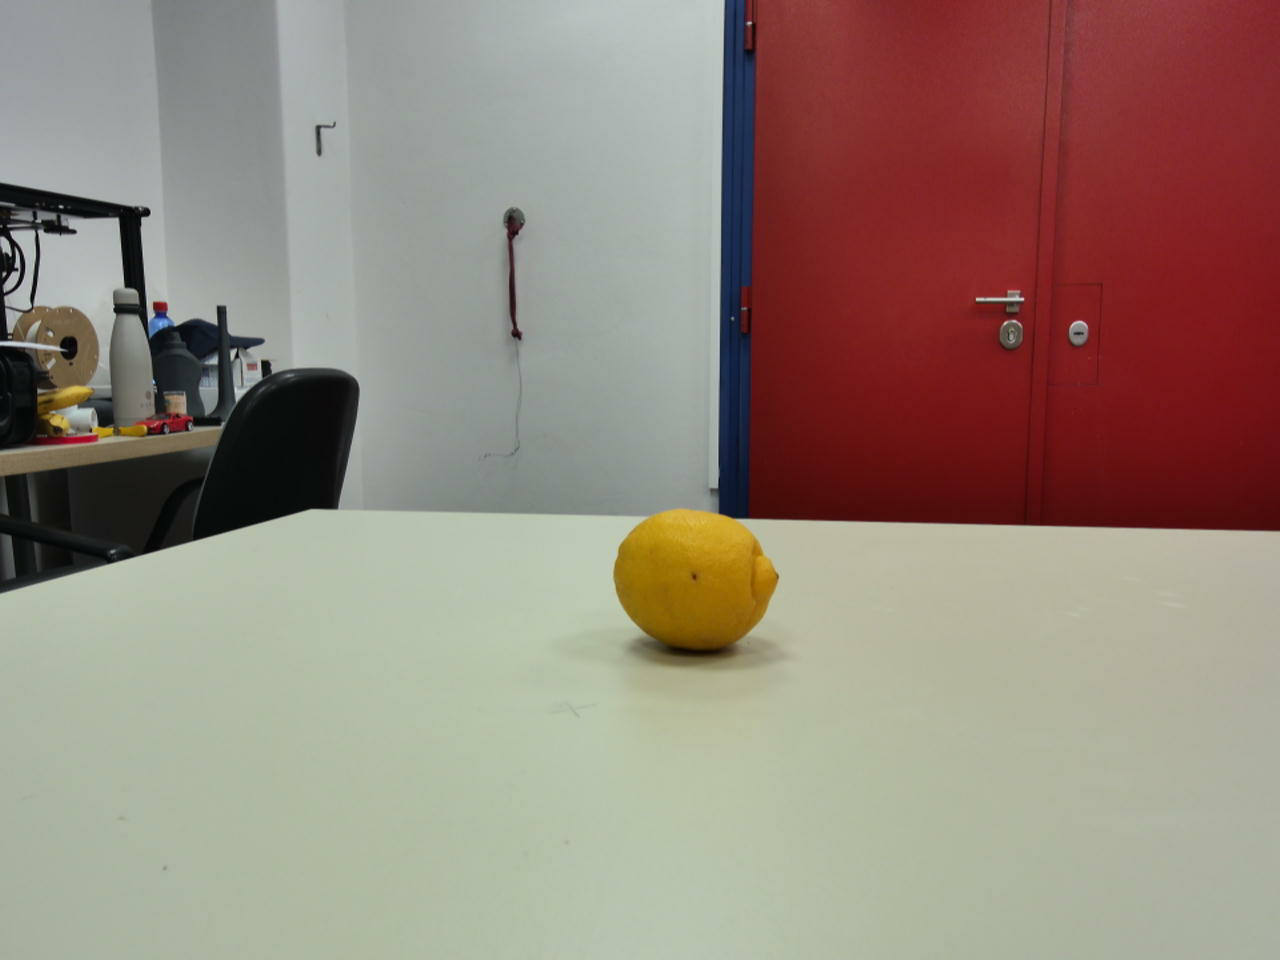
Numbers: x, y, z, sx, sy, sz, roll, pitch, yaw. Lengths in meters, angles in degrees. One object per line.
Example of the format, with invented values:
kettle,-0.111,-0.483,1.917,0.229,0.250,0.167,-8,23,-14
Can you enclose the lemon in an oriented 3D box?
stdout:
lemon,0.022,0.043,0.431,0.060,0.059,0.067,-2,5,-36
